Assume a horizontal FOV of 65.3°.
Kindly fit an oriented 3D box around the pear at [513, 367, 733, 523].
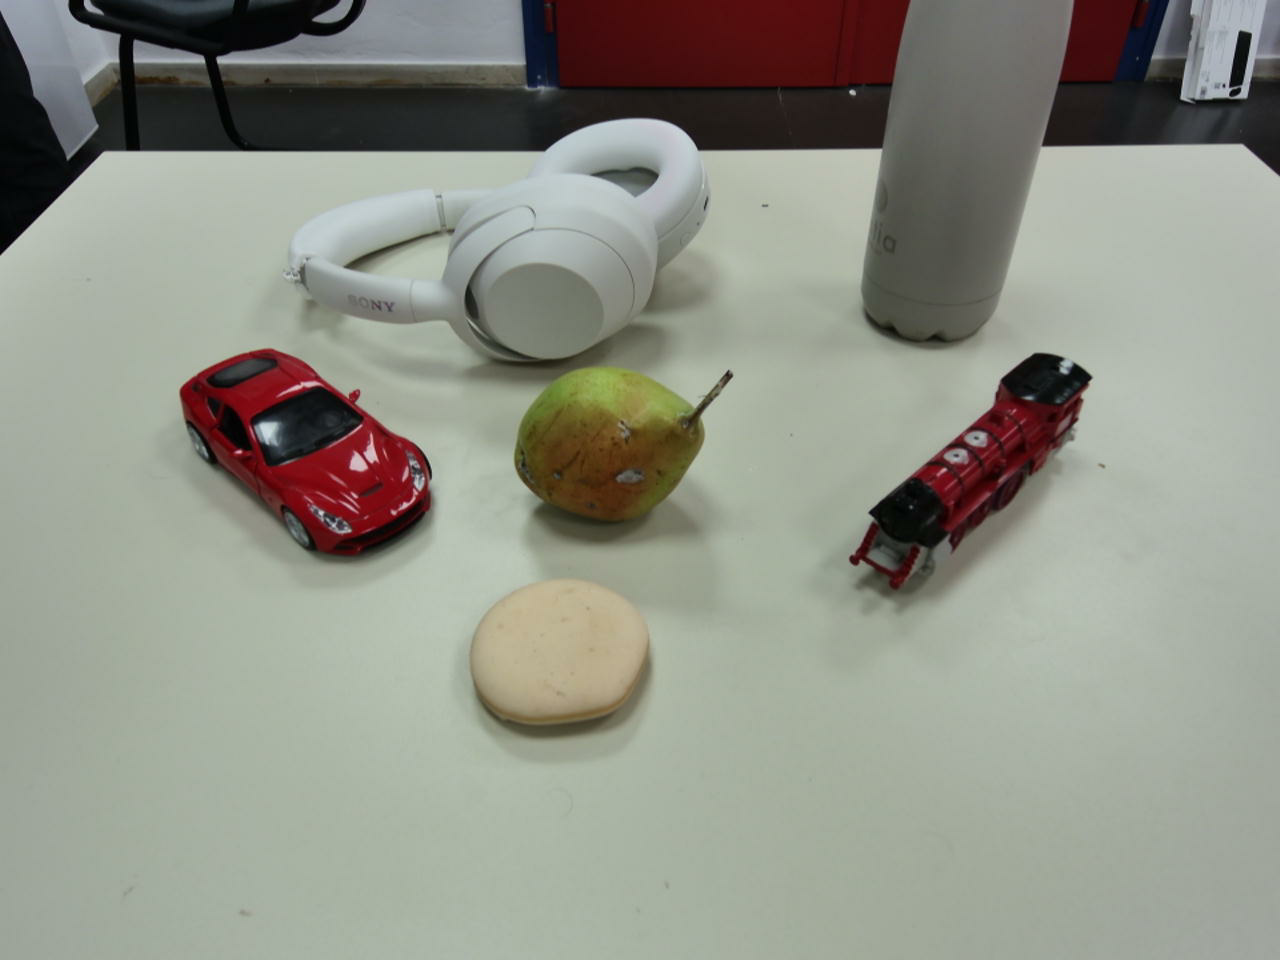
[{"bbox_3d":[-0.013,-0.016,0.402,0.068,0.069,0.070,-27,45,-29],"label":"pear"}]
